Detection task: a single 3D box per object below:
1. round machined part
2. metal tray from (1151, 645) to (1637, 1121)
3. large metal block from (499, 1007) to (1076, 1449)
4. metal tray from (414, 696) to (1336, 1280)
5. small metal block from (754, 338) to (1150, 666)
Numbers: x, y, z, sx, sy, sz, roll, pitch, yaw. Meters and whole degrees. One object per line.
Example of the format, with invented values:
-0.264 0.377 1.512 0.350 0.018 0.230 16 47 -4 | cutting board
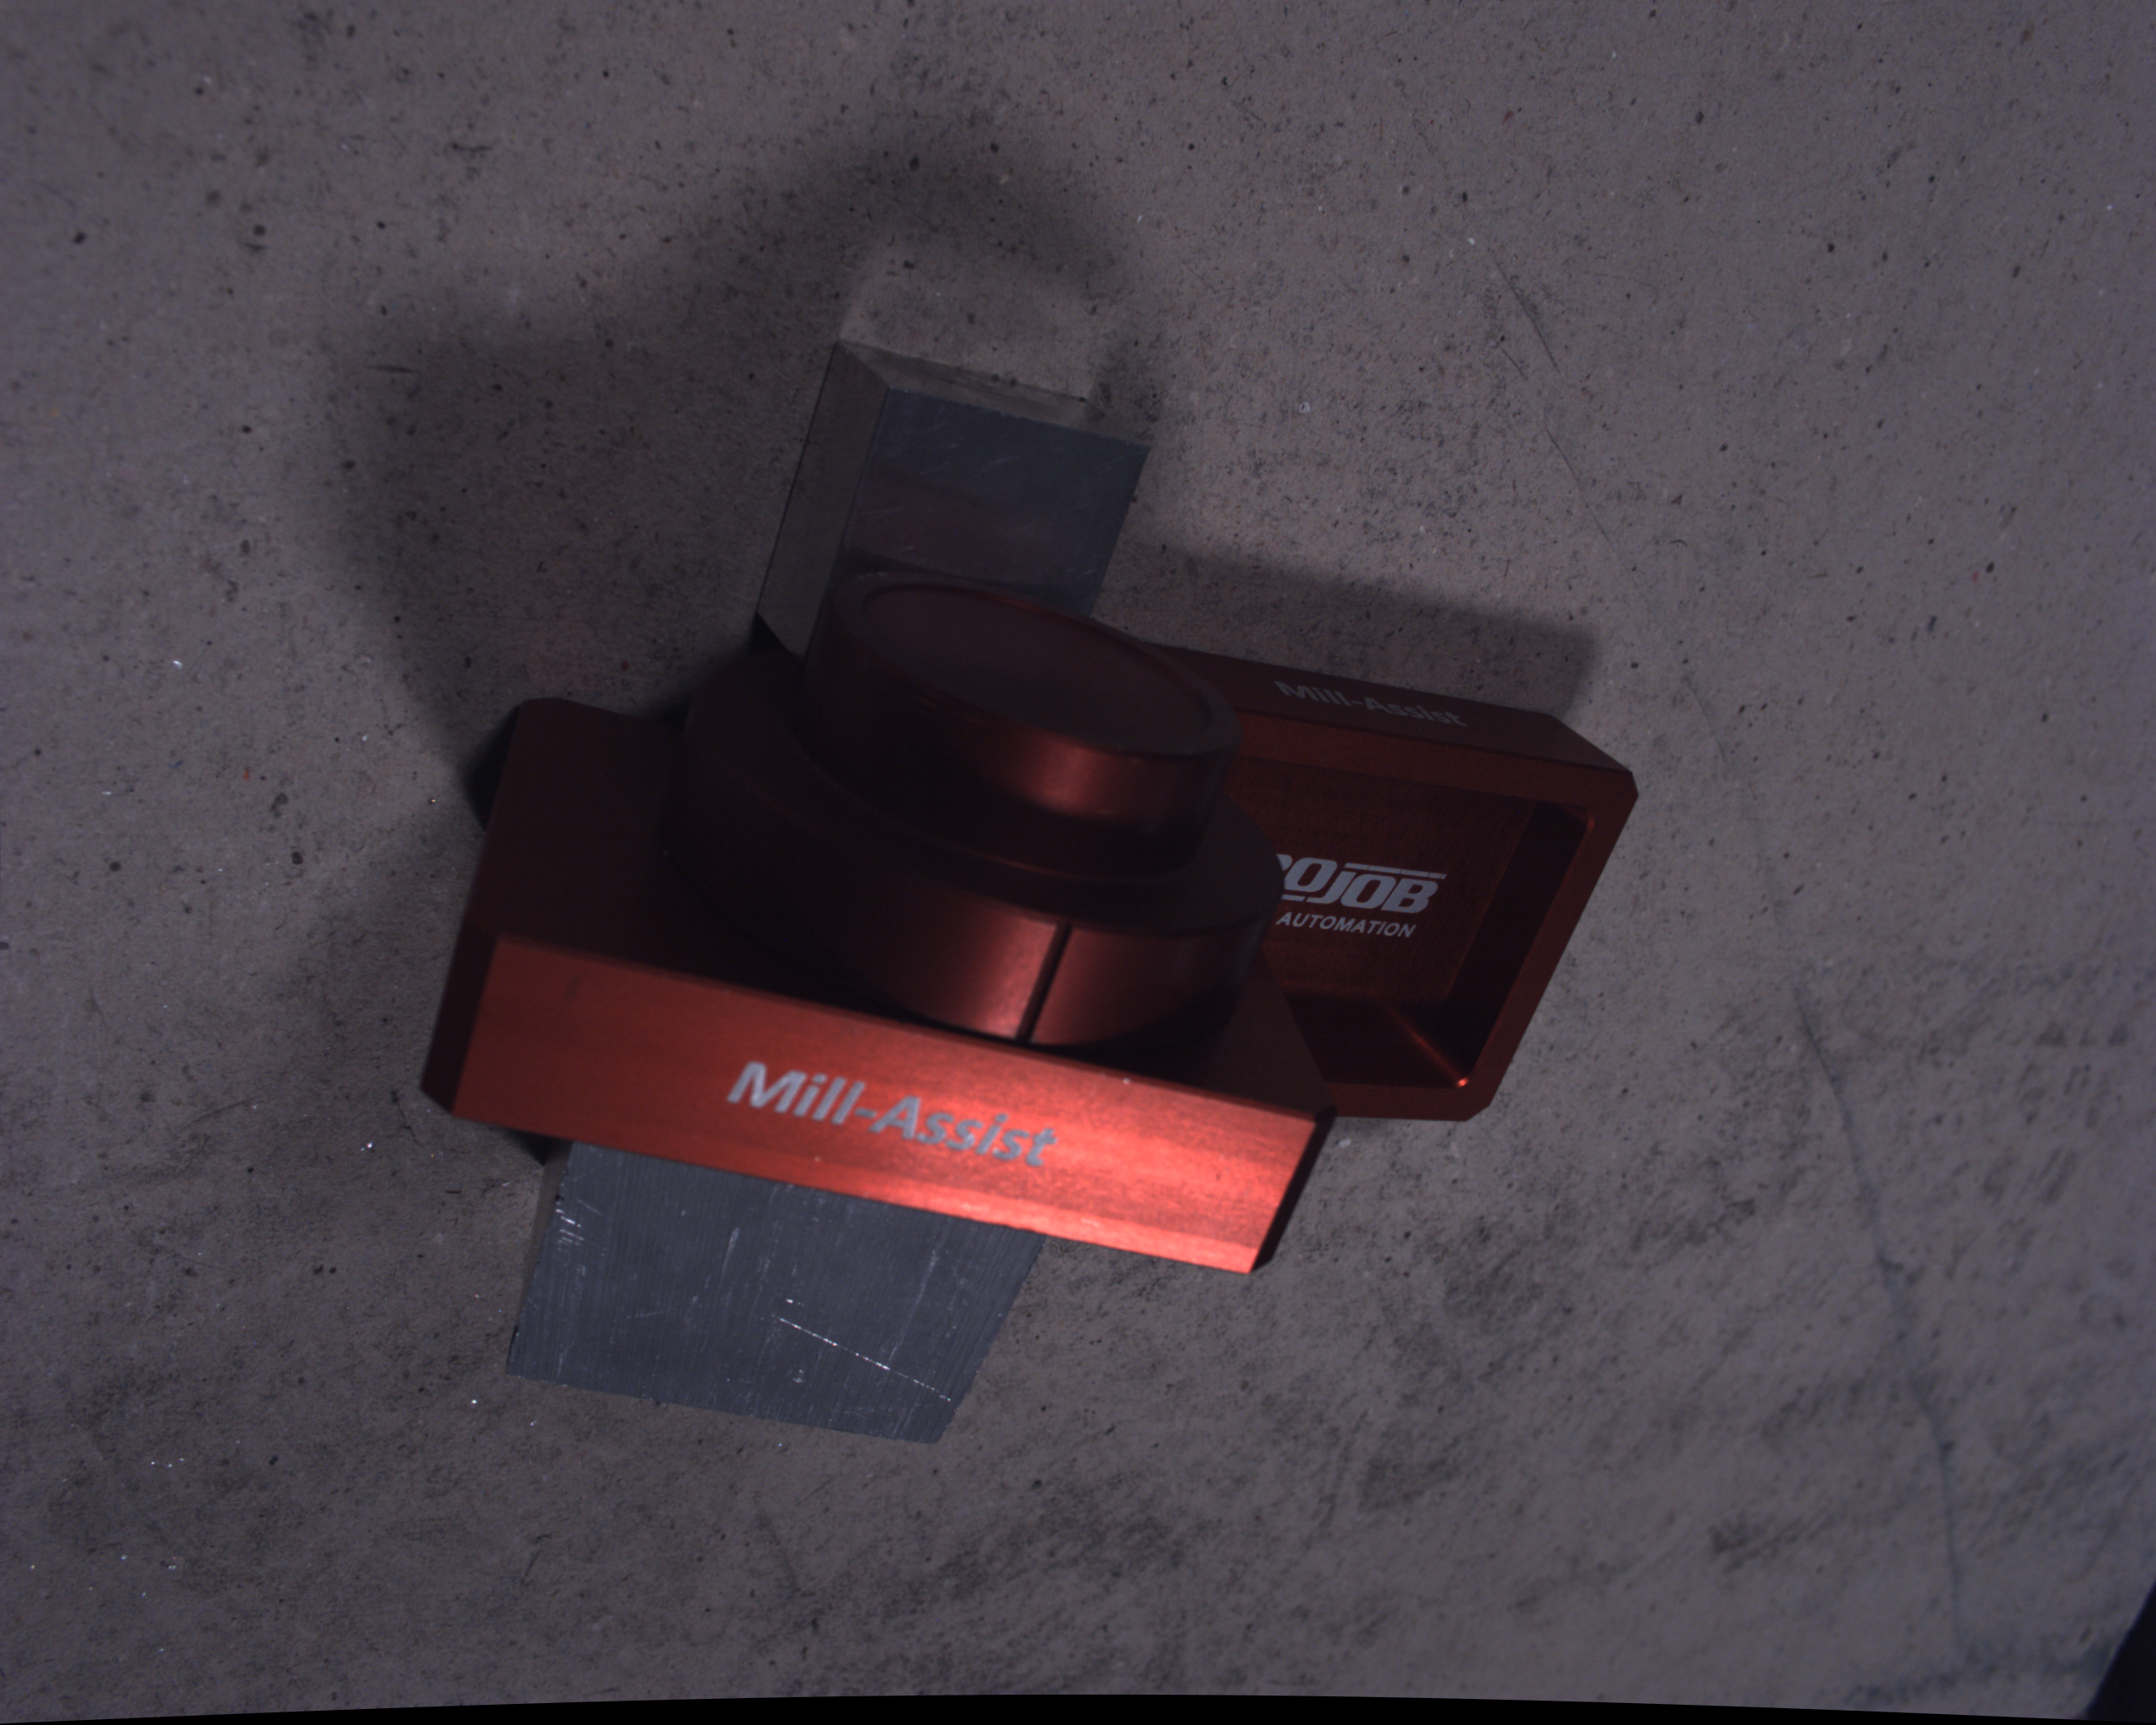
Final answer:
-0.013 -0.013 0.333 0.099 0.098 0.042 6 115 -32 | round machined part
0.045 0.007 0.436 0.131 0.030 0.089 6 115 -32 | metal tray
-0.052 0.055 0.375 0.081 0.050 0.079 14 125 -15 | large metal block
-0.032 0.018 0.339 0.131 0.090 0.030 14 113 -15 | metal tray
-0.022 -0.058 0.362 0.050 0.025 0.050 7 115 -32 | small metal block
